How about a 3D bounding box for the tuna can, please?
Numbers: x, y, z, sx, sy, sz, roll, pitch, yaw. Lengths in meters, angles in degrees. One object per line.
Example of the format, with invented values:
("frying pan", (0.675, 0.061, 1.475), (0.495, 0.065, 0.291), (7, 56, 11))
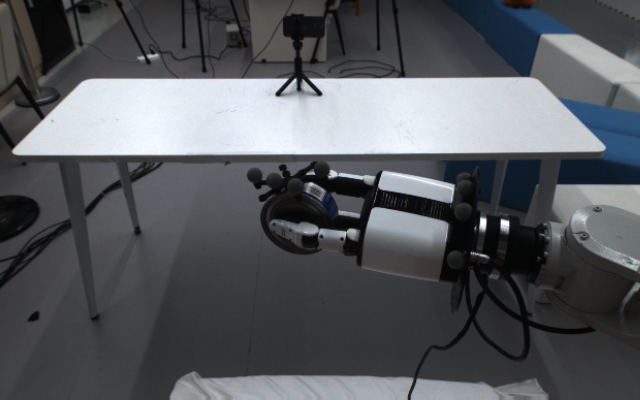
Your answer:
("tuna can", (-0.020, 0.024, 0.555), (0.085, 0.085, 0.034), (10, 33, 11))
